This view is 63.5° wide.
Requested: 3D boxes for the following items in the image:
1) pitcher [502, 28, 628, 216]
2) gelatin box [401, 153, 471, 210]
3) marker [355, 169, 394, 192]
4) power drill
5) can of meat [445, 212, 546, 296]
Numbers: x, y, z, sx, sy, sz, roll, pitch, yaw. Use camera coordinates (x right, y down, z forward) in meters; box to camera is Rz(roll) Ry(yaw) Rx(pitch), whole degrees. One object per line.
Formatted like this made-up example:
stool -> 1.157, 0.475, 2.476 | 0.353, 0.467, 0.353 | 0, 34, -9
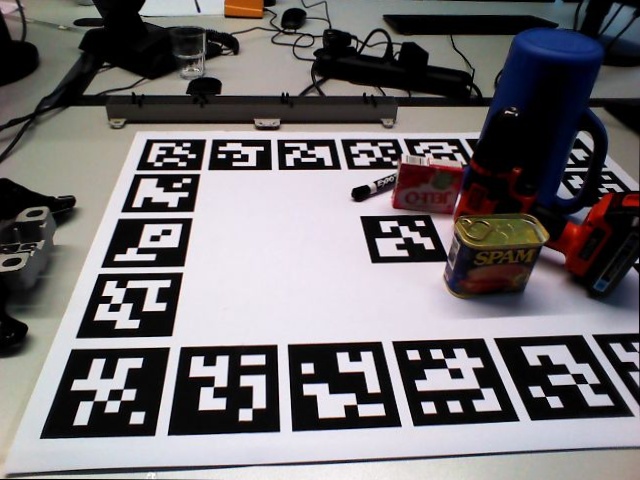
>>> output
pitcher -> 0.312, -0.144, 0.693 | 0.190, 0.243, 0.132 | 17, 45, 25
gelatin box -> 0.165, -0.081, 0.732 | 0.089, 0.073, 0.030 | 8, 45, 3
marker -> 0.106, -0.097, 0.785 | 0.120, 0.020, 0.019 | -20, 46, -23
power drill -> 0.269, -0.060, 0.627 | 0.187, 0.185, 0.057 | 27, 49, 18
can of meat -> 0.203, 0.018, 0.604 | 0.102, 0.084, 0.057 | -1, 39, -5
